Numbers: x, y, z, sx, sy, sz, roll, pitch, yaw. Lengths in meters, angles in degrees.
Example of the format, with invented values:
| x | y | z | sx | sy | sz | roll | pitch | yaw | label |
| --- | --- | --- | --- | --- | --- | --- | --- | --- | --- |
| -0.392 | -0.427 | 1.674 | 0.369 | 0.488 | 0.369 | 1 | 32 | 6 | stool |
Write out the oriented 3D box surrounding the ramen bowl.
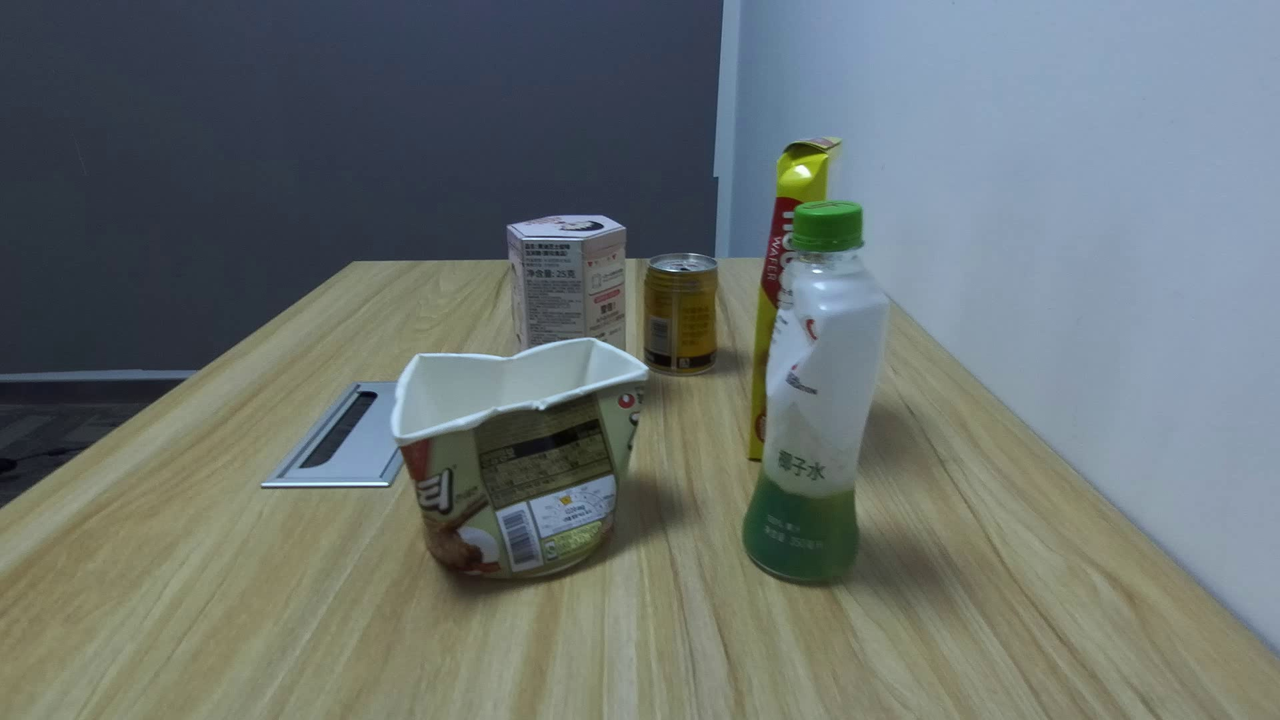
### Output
| x | y | z | sx | sy | sz | roll | pitch | yaw | label |
| --- | --- | --- | --- | --- | --- | --- | --- | --- | --- |
| -0.061 | 0.050 | 0.395 | 0.128 | 0.093 | 0.111 | -5 | 23 | -12 | ramen bowl |

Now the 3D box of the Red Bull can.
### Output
| x | y | z | sx | sy | sz | roll | pitch | yaw | label |
| --- | --- | --- | --- | --- | --- | --- | --- | --- | --- |
| 0.036 | -0.041 | 0.612 | 0.068 | 0.093 | 0.068 | 0 | 23 | 0 | Red Bull can |

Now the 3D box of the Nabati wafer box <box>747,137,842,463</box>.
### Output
| x | y | z | sx | sy | sz | roll | pitch | yaw | label |
| --- | --- | --- | --- | --- | --- | --- | --- | --- | --- |
| 0.102 | -0.038 | 0.466 | 0.042 | 0.205 | 0.113 | 6 | 20 | 12 | Nabati wafer box |

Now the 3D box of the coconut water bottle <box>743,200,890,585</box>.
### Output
| x | y | z | sx | sy | sz | roll | pitch | yaw | label |
| --- | --- | --- | --- | --- | --- | --- | --- | --- | --- |
| 0.088 | 0.017 | 0.351 | 0.069 | 0.187 | 0.069 | 0 | 24 | 0 | coconut water bottle |

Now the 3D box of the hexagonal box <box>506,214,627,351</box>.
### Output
| x | y | z | sx | sy | sz | roll | pitch | yaw | label |
| --- | --- | --- | --- | --- | --- | --- | --- | --- | --- |
| -0.056 | -0.038 | 0.552 | 0.083 | 0.136 | 0.091 | 17 | 28 | 34 | hexagonal box |
